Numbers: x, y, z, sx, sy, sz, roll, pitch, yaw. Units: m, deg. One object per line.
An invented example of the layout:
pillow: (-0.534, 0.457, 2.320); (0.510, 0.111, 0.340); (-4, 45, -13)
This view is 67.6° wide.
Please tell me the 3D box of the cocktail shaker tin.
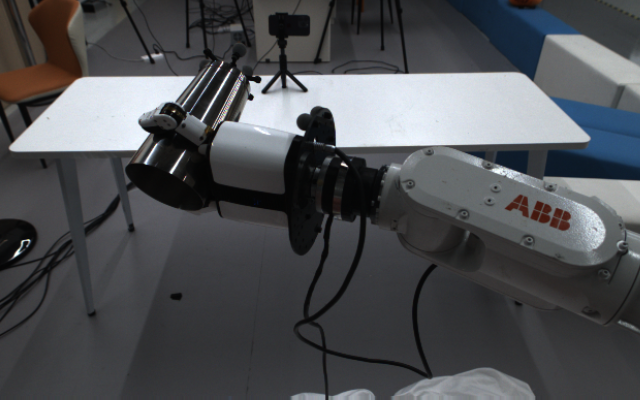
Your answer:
cocktail shaker tin: (-0.147, -0.082, 0.573); (0.093, 0.093, 0.170); (13, 61, 16)
